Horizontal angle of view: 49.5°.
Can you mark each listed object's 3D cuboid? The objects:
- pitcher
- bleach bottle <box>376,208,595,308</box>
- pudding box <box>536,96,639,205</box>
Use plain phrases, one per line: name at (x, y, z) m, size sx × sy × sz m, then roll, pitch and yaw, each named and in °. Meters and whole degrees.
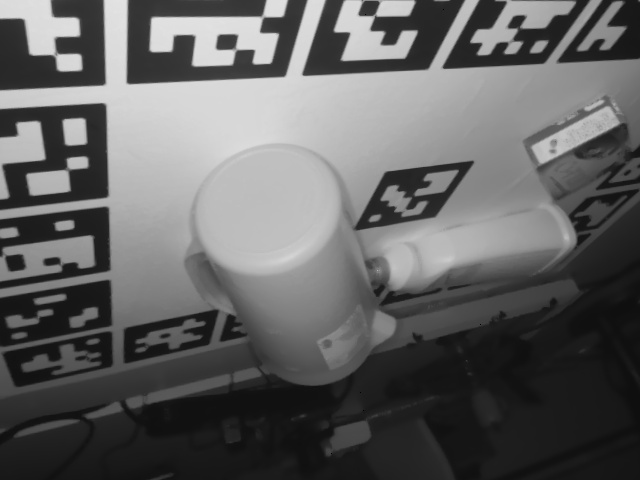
pitcher at (-0.032, 0.015, 0.611) m, size 0.187 × 0.135 × 0.242 m, roll 8°, pitch 150°, yaw 19°
bleach bottle at (0.185, 0.028, 0.798) m, size 0.253 × 0.068 × 0.101 m, roll -8°, pitch 143°, yaw -17°
pudding box at (0.274, -0.085, 0.688) m, size 0.089 × 0.039 × 0.115 m, roll -27°, pitch 148°, yaw 21°
